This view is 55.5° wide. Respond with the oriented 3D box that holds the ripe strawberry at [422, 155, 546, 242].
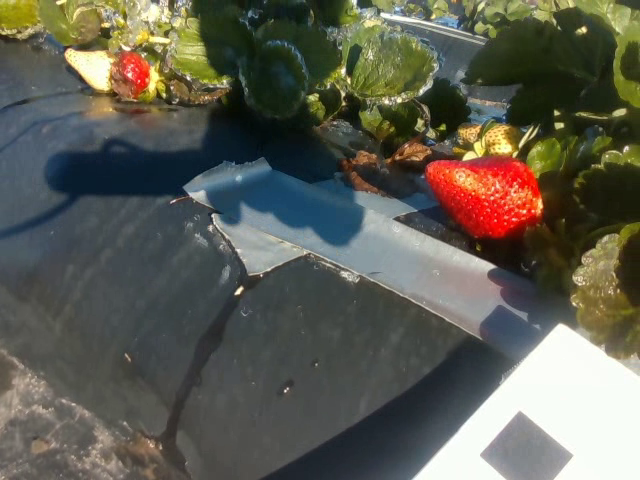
[{"bbox_3d":[0.082,-0.024,0.317,0.065,0.062,0.057,17,-45,-35],"label":"ripe strawberry"}]
